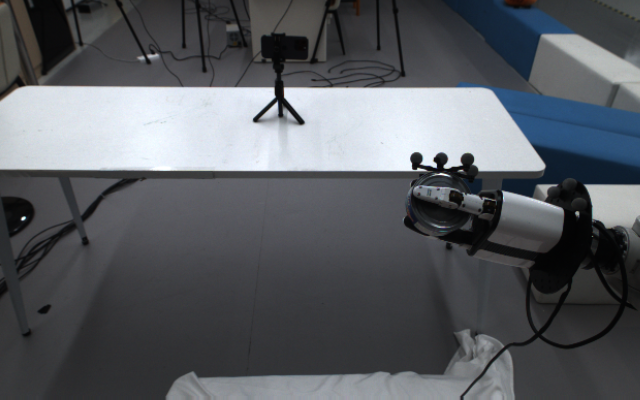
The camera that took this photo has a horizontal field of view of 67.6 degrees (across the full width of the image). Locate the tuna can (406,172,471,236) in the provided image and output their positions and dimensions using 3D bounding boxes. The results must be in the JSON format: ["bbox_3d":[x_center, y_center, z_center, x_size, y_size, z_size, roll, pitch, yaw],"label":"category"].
[{"bbox_3d":[0.163,0.001,0.660,0.085,0.034,0.085,1,72,-4],"label":"tuna can"}]
